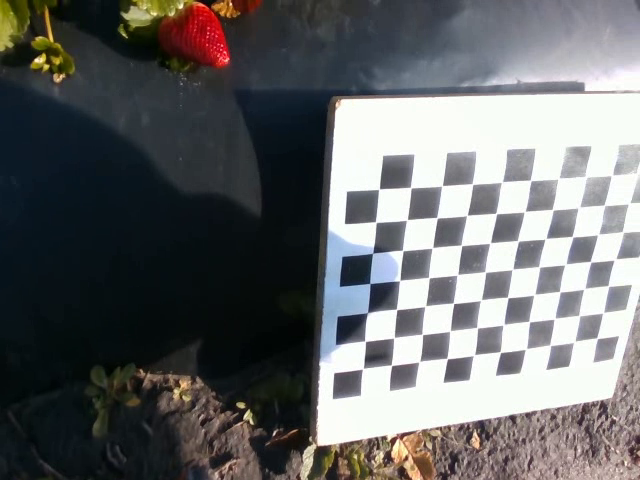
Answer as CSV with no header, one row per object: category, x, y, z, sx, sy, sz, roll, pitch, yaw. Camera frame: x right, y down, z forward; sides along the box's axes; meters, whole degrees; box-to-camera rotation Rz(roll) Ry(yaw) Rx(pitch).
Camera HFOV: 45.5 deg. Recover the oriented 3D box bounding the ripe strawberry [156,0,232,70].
ripe strawberry,-0.076,-0.121,0.469,0.056,0.041,0.040,43,6,17
